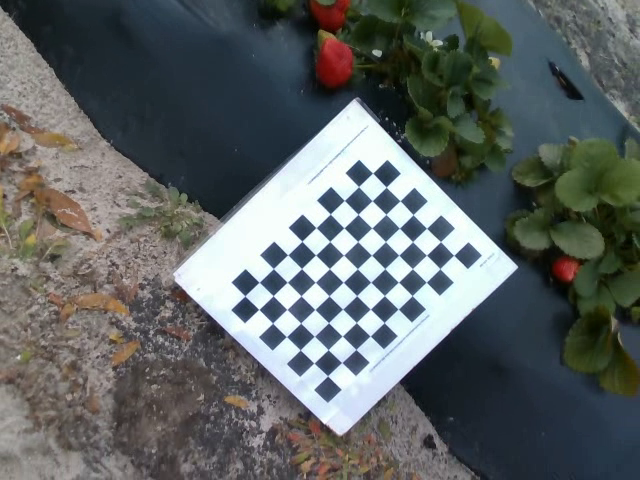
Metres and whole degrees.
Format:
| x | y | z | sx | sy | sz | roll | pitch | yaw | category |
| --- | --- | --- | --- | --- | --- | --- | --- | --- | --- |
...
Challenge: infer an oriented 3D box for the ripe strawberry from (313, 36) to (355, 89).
| x | y | z | sx | sy | sz | roll | pitch | yaw | category |
| --- | --- | --- | --- | --- | --- | --- | --- | --- | --- |
| 0.009 | -0.221 | 0.657 | 0.057 | 0.056 | 0.064 | 6 | 3 | 15 | ripe strawberry |
